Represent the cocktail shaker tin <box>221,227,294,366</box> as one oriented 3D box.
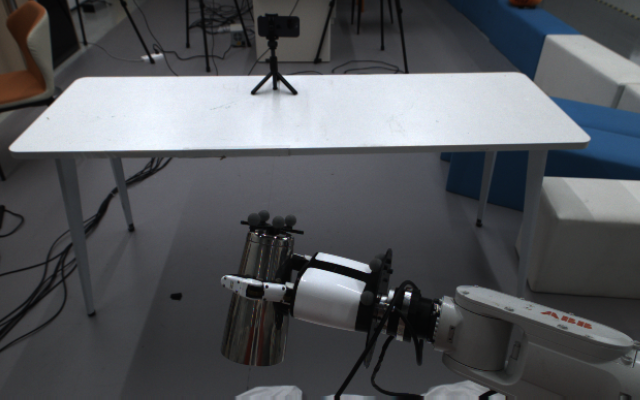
[{"bbox_3d":[-0.079,0.130,0.674,0.093,0.170,0.093,9,3,0],"label":"cocktail shaker tin"}]
